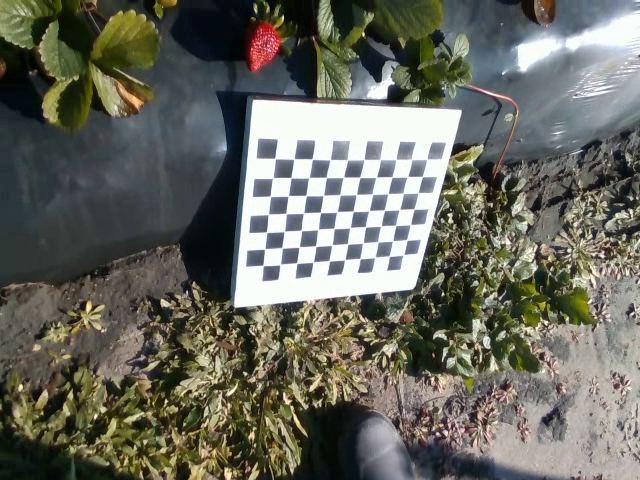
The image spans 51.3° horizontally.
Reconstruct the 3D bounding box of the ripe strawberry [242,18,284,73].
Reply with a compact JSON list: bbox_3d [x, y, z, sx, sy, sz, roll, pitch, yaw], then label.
[{"bbox_3d":[-0.066,-0.201,0.704,0.058,0.062,0.066,-25,-46,22],"label":"ripe strawberry"}]
